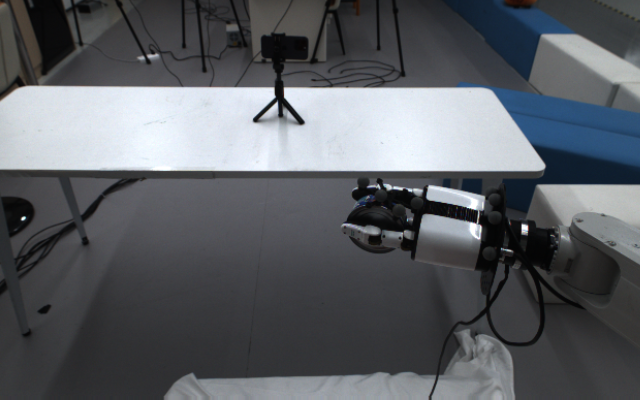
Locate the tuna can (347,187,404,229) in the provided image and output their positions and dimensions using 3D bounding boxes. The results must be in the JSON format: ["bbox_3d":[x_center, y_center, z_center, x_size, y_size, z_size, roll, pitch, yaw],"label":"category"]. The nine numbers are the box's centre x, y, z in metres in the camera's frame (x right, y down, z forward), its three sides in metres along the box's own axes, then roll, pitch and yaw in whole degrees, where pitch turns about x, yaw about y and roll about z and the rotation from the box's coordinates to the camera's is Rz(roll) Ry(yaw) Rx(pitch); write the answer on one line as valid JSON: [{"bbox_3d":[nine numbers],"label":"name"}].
[{"bbox_3d":[0.085,0.033,0.709,0.085,0.085,0.034,12,33,14],"label":"tuna can"}]
